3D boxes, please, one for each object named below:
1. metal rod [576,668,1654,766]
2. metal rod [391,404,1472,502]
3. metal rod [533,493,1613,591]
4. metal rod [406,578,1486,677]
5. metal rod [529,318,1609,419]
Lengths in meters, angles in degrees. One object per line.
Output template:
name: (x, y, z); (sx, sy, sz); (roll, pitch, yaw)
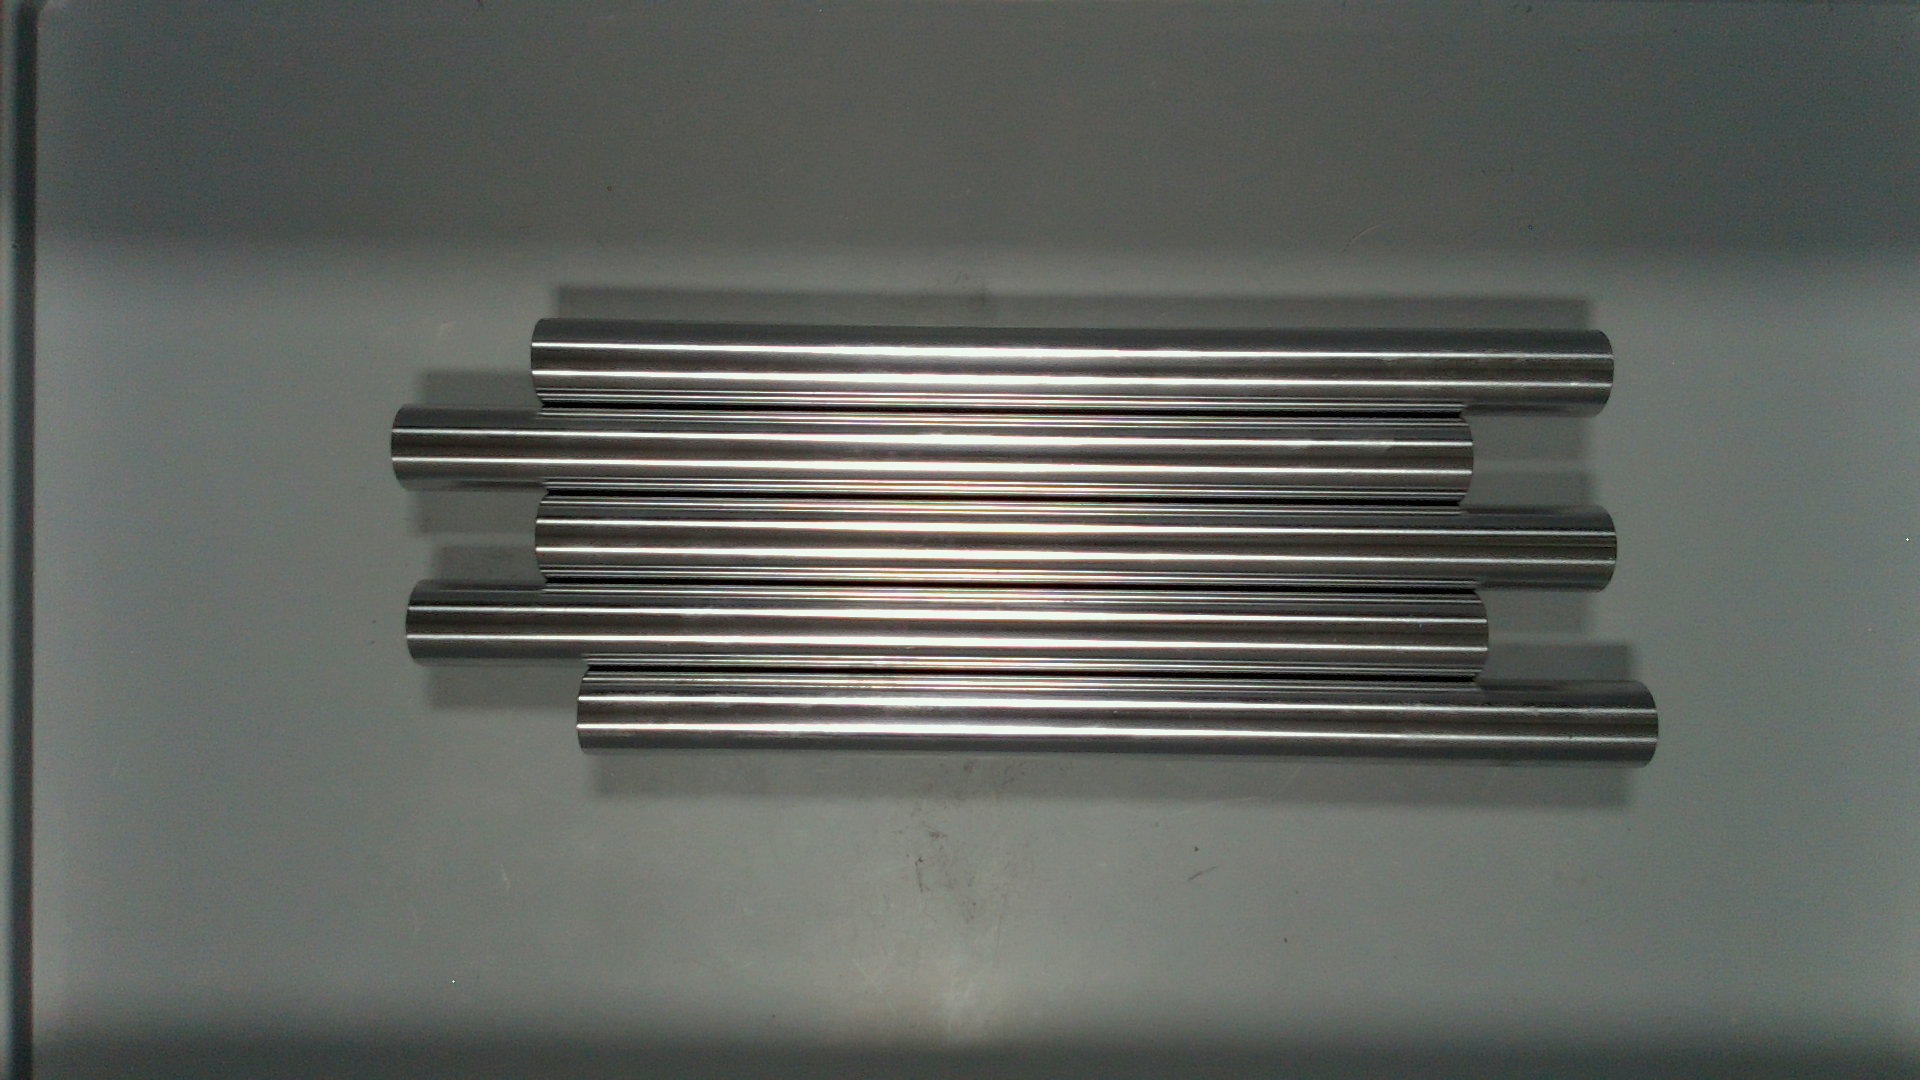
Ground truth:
metal rod: (0.043, 0.051, 0.395); (0.300, 0.025, 0.025); (1, 90, 0)
metal rod: (-0.008, -0.025, 0.394); (0.300, 0.025, 0.025); (1, 90, 0)
metal rod: (0.032, 0.001, 0.394); (0.300, 0.025, 0.025); (1, 90, 0)
metal rod: (-0.004, 0.025, 0.394); (0.300, 0.025, 0.025); (1, 90, 0)
metal rod: (0.031, -0.049, 0.394); (0.300, 0.025, 0.025); (1, 90, 0)
